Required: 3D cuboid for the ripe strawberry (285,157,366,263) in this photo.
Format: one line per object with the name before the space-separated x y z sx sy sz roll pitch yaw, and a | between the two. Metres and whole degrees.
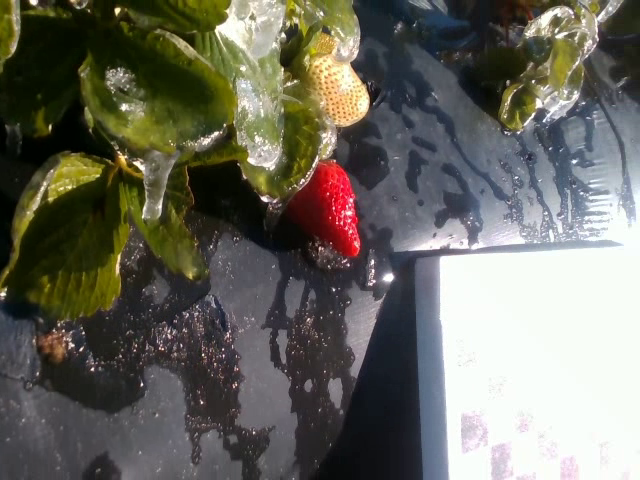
ripe strawberry | 0.012 -0.014 0.292 0.041 0.052 0.040 -23 4 -36
